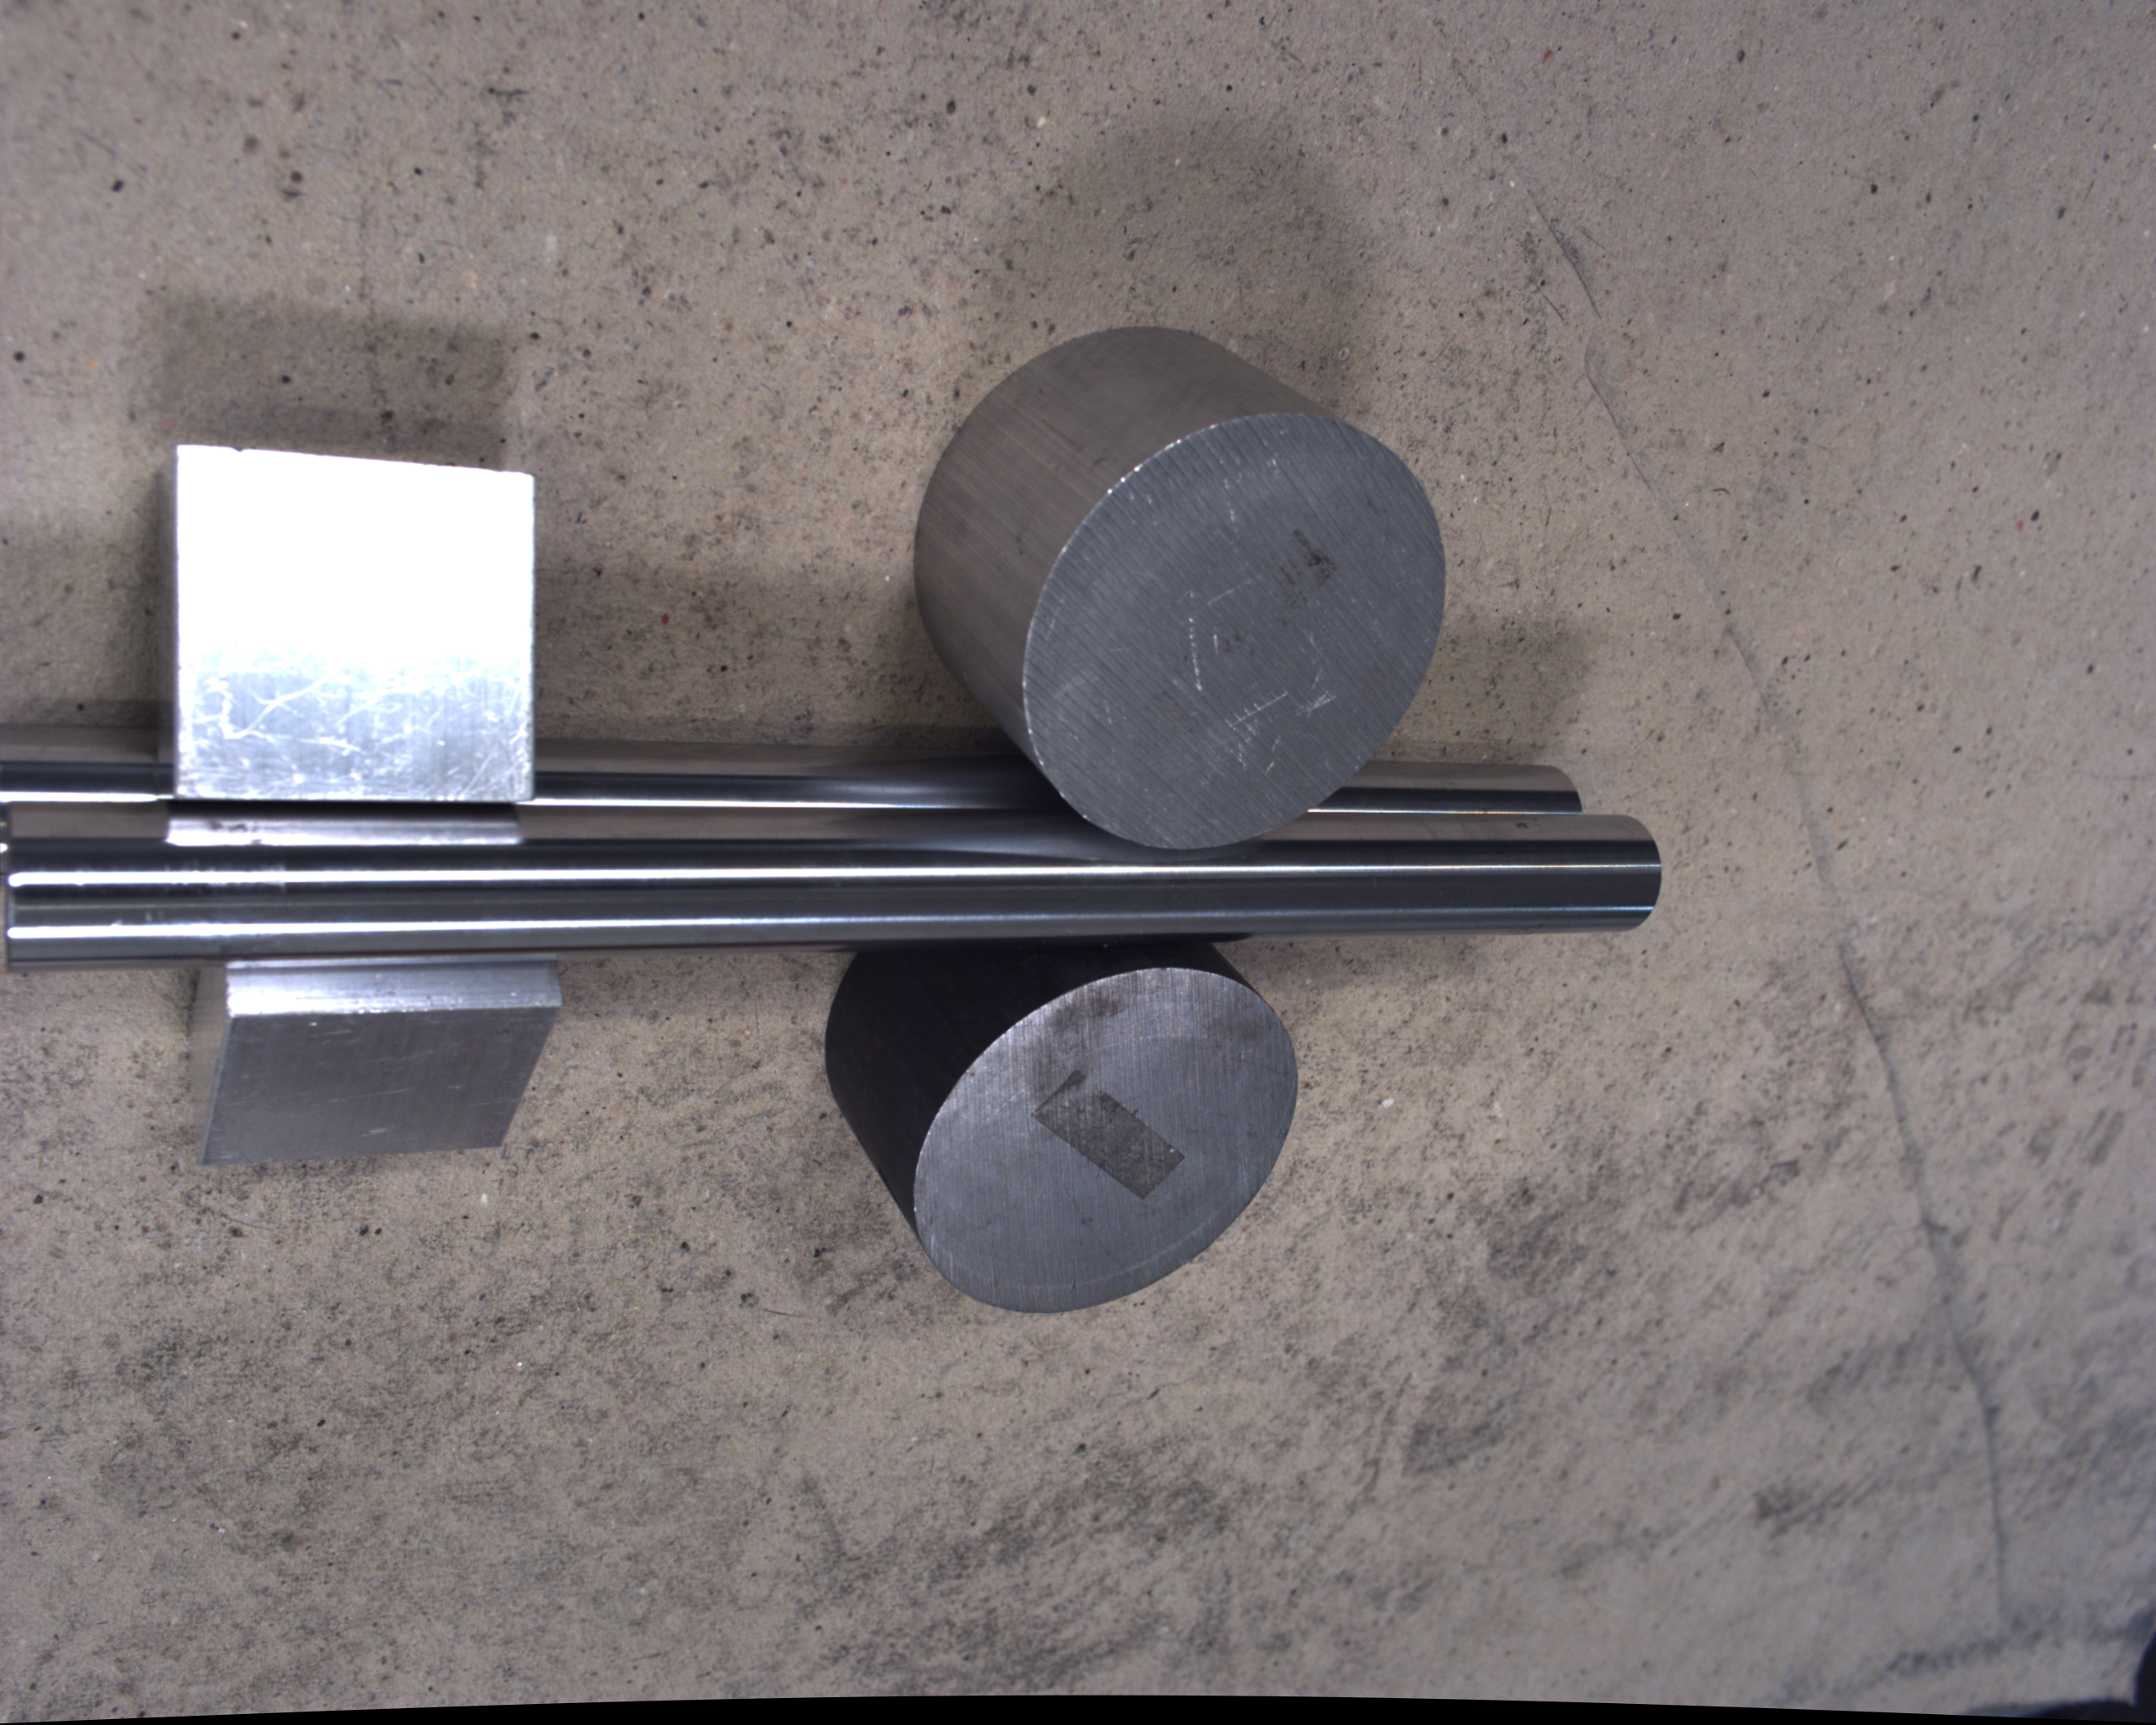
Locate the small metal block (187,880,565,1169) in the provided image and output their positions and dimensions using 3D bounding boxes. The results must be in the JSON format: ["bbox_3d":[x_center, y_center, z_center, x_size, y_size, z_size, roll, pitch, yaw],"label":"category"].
[{"bbox_3d":[-0.118,0.026,0.347,0.050,0.025,0.050,0,145,-29],"label":"small metal block"}]

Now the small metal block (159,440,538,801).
[{"bbox_3d":[-0.110,-0.034,0.315,0.050,0.025,0.050,0,91,-28],"label":"small metal block"}]

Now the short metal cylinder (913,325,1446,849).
[{"bbox_3d":[0.017,-0.049,0.371,0.081,0.050,0.079,-14,124,-21],"label":"short metal cylinder"}]

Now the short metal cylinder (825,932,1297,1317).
[{"bbox_3d":[-0.004,0.043,0.417,0.081,0.050,0.079,-14,124,-21],"label":"short metal cylinder"}]

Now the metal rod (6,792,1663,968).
[{"bbox_3d":[-0.019,0.002,0.367,0.303,0.025,0.025,0,119,-28],"label":"metal rod"}]

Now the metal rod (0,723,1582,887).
[{"bbox_3d":[-0.030,-0.009,0.386,0.303,0.025,0.025,0,119,-29],"label":"metal rod"}]
